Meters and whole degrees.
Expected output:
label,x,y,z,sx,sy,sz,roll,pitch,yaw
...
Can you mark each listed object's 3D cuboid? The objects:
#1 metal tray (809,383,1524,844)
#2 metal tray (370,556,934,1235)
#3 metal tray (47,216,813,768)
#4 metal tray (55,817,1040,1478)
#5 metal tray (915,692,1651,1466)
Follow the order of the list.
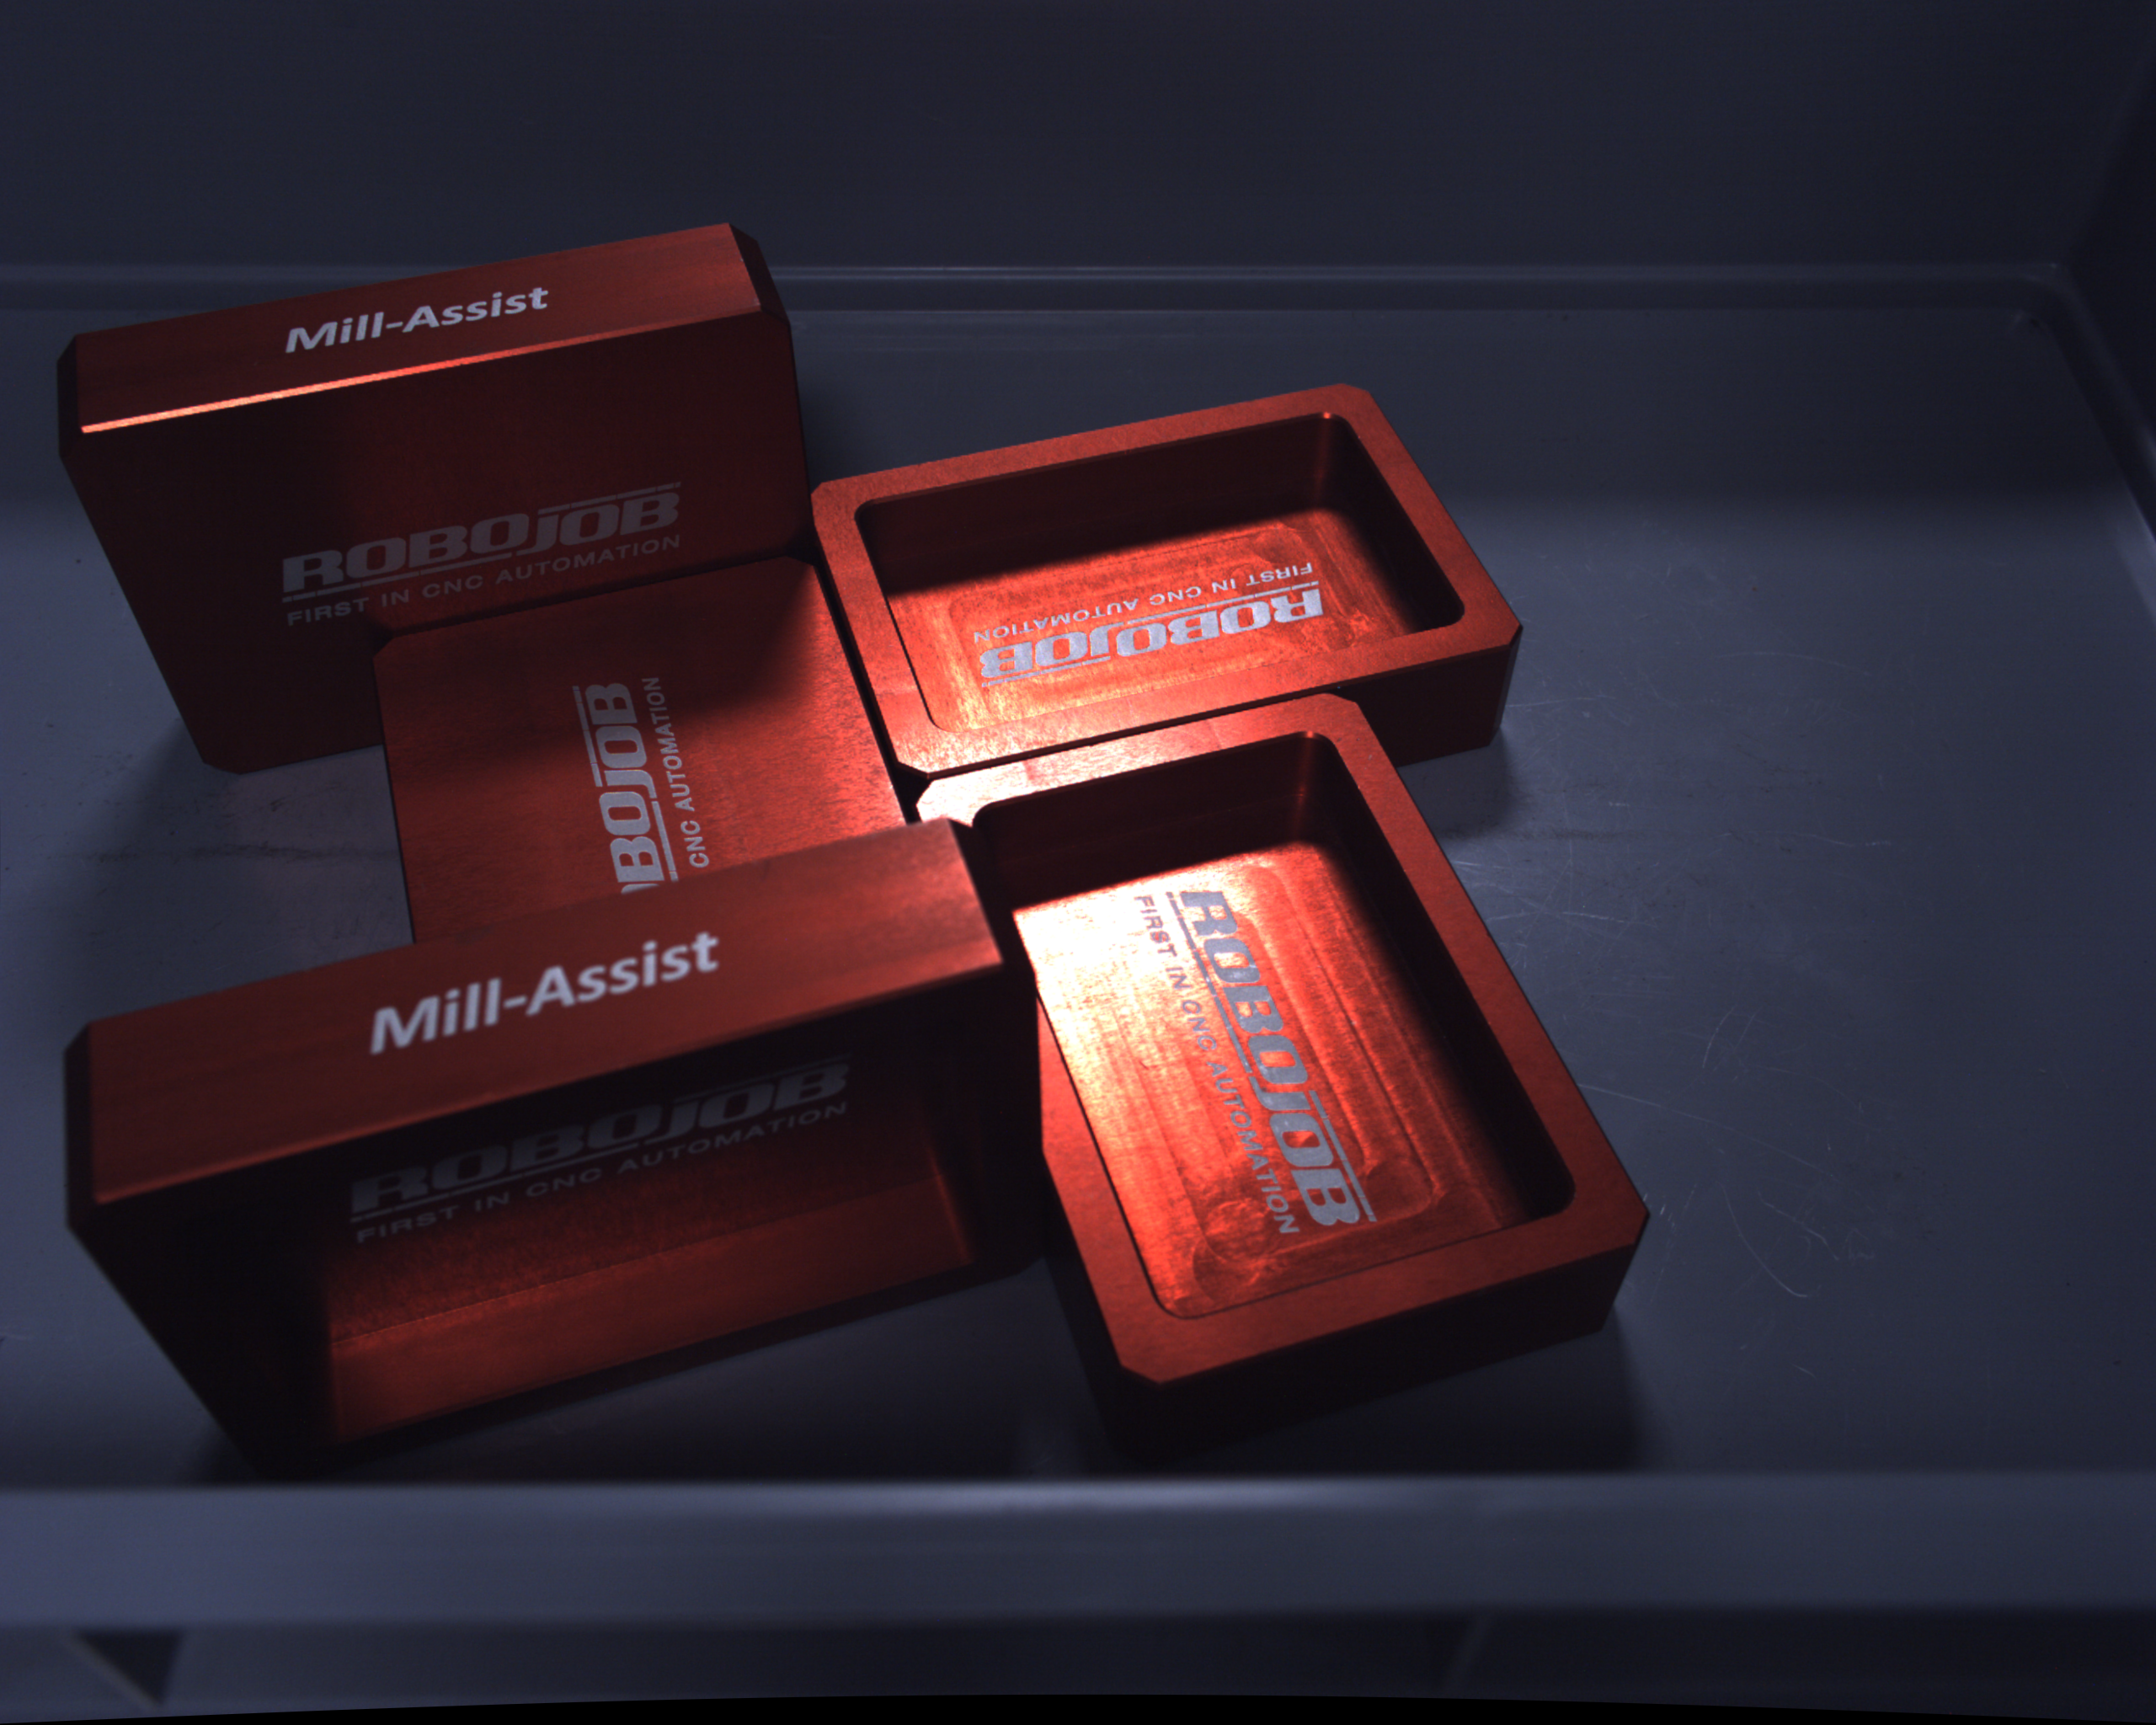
label,x,y,z,sx,sy,sz,roll,pitch,yaw
metal tray,0.016,-0.053,0.445,0.131,0.030,0.090,-13,51,-12
metal tray,-0.079,0.002,0.396,0.091,0.030,0.130,-13,51,-12
metal tray,-0.122,-0.073,0.418,0.131,0.089,0.030,-14,52,-12
metal tray,-0.073,0.046,0.320,0.131,0.089,0.030,-13,52,-12
metal tray,0.031,0.032,0.373,0.091,0.030,0.130,-13,51,-12
